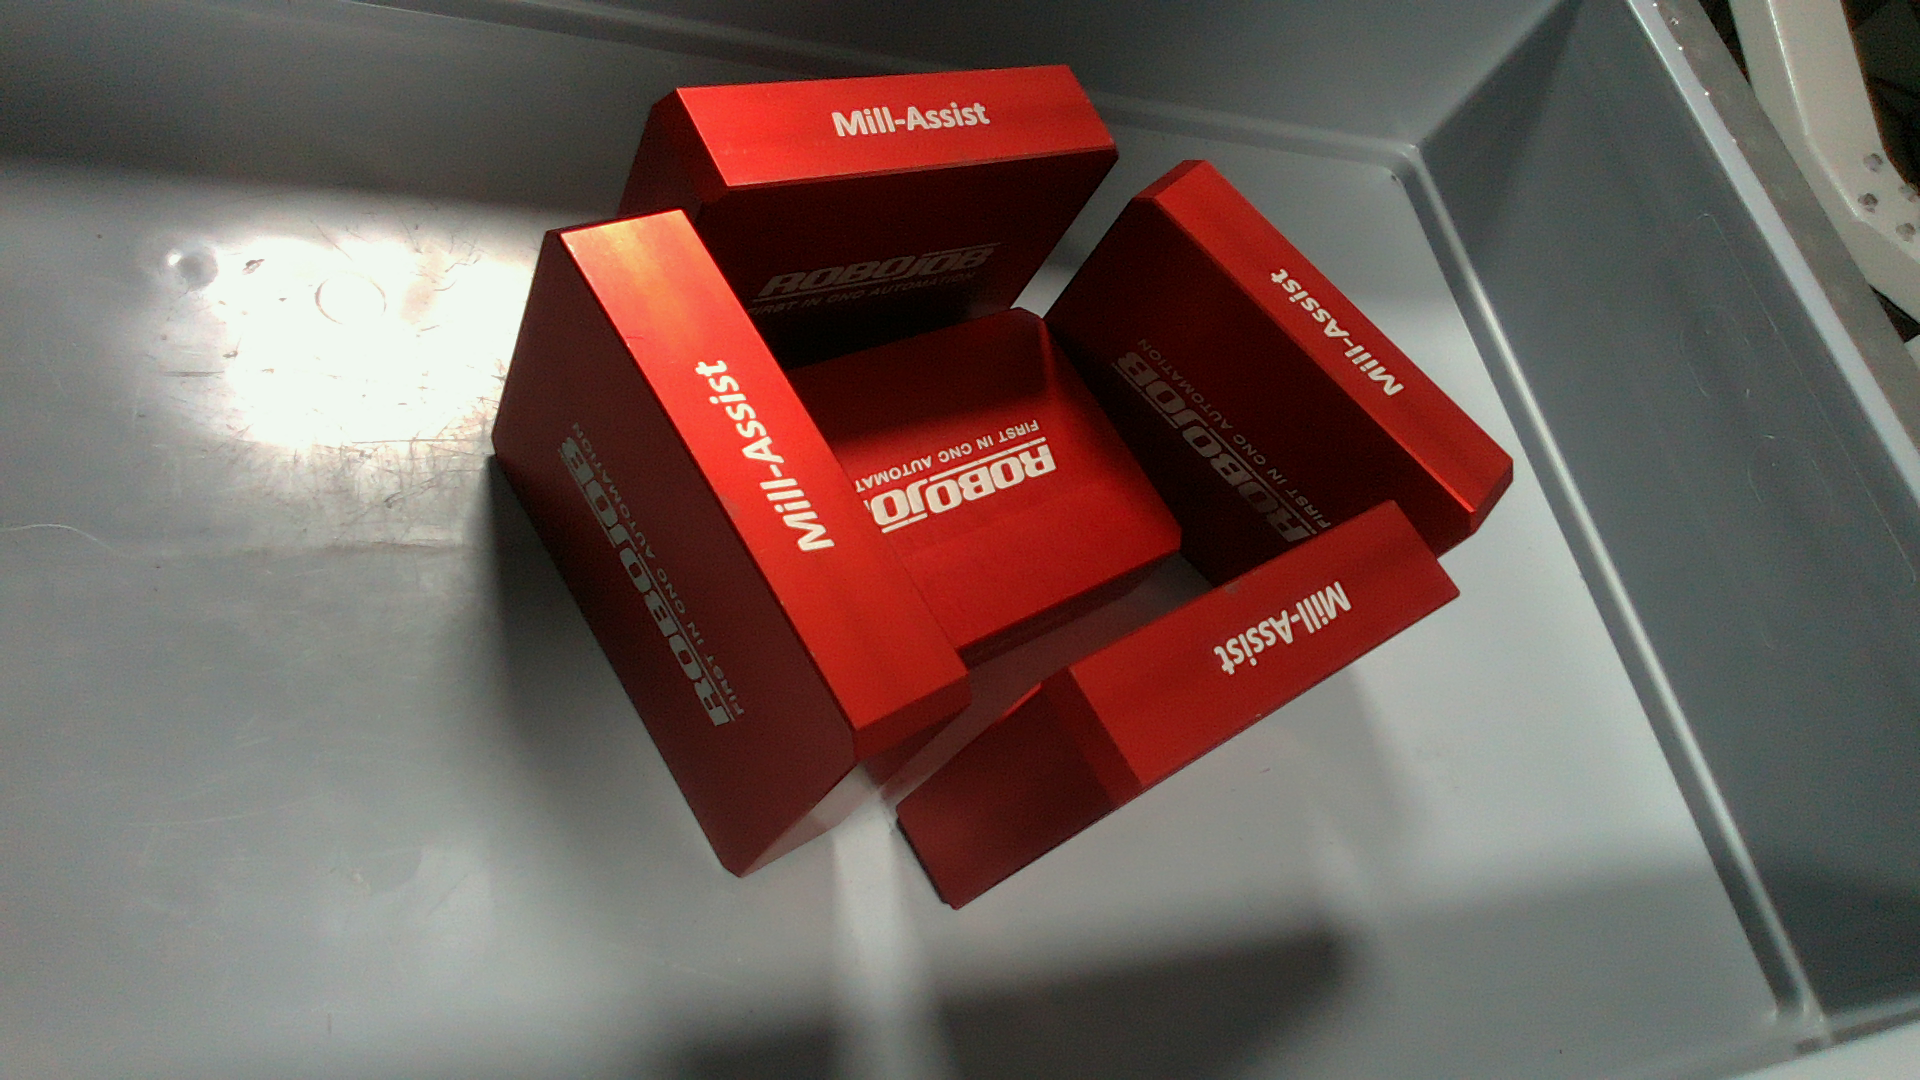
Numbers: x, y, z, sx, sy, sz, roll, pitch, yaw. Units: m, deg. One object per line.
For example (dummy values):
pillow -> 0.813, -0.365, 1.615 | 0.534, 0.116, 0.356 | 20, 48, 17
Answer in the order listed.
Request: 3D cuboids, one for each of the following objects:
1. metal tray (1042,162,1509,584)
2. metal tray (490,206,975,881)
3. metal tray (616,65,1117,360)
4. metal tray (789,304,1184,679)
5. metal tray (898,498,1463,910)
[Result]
metal tray -> 0.085, -0.037, 0.415 | 0.130, 0.090, 0.030 | 45, 52, 4
metal tray -> -0.058, 0.003, 0.313 | 0.030, 0.090, 0.130 | -23, 74, -36
metal tray -> -0.030, -0.085, 0.382 | 0.130, 0.090, 0.030 | -17, 70, -35
metal tray -> -0.010, -0.010, 0.384 | 0.130, 0.030, 0.090 | -22, 73, -36
metal tray -> 0.057, 0.041, 0.351 | 0.130, 0.090, 0.030 | -23, 74, -36
